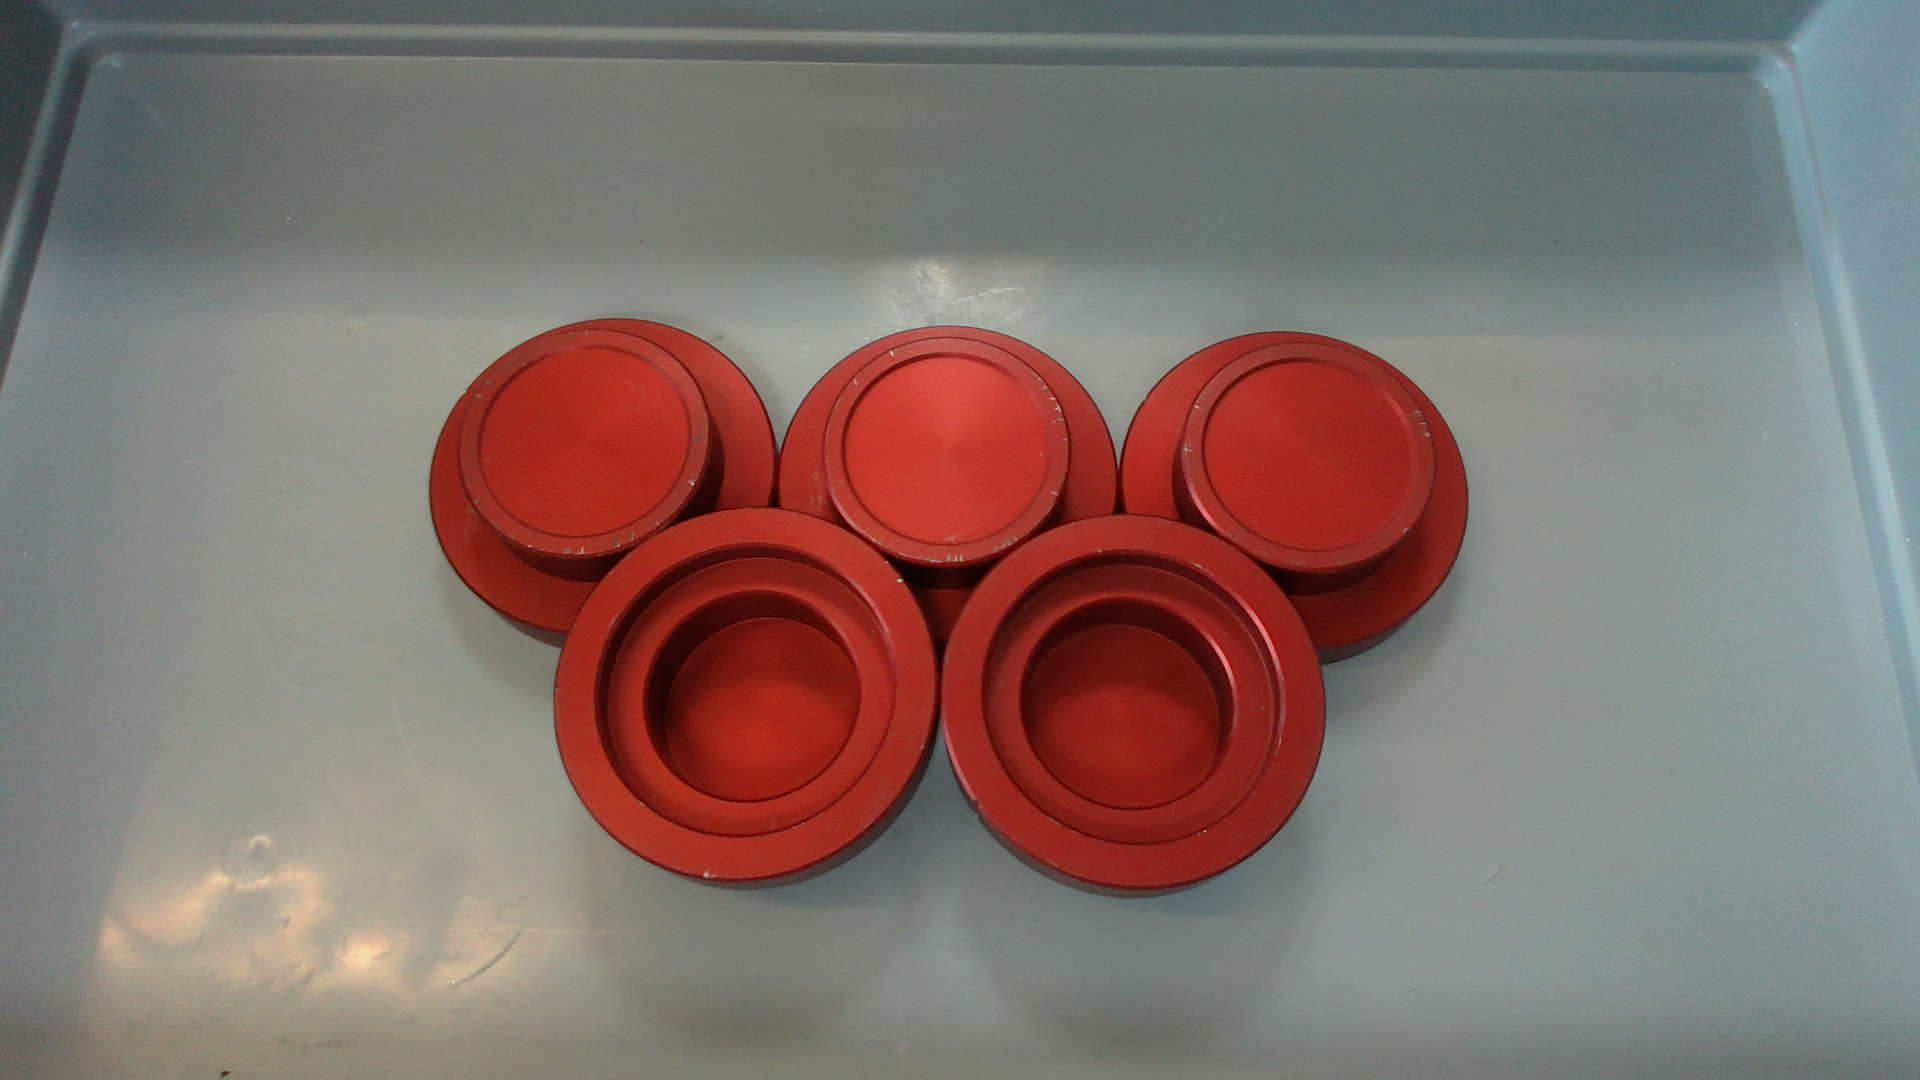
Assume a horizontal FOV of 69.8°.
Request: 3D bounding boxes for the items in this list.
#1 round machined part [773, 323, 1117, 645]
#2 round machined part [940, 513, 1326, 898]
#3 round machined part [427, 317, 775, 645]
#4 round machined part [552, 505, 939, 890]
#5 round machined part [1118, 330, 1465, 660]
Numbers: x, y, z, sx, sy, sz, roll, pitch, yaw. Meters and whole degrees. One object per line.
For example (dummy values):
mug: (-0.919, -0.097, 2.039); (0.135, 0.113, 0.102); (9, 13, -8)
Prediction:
round machined part: (-0.004, -0.019, 0.391); (0.098, 0.042, 0.098); (0, 69, 1)
round machined part: (0.044, 0.046, 0.367); (0.098, 0.042, 0.098); (0, 70, 0)
round machined part: (-0.102, -0.021, 0.390); (0.098, 0.042, 0.098); (0, 69, -1)
round machined part: (-0.054, 0.044, 0.368); (0.098, 0.042, 0.098); (0, 70, 0)
round machined part: (0.094, -0.017, 0.390); (0.098, 0.042, 0.098); (0, 69, 1)
